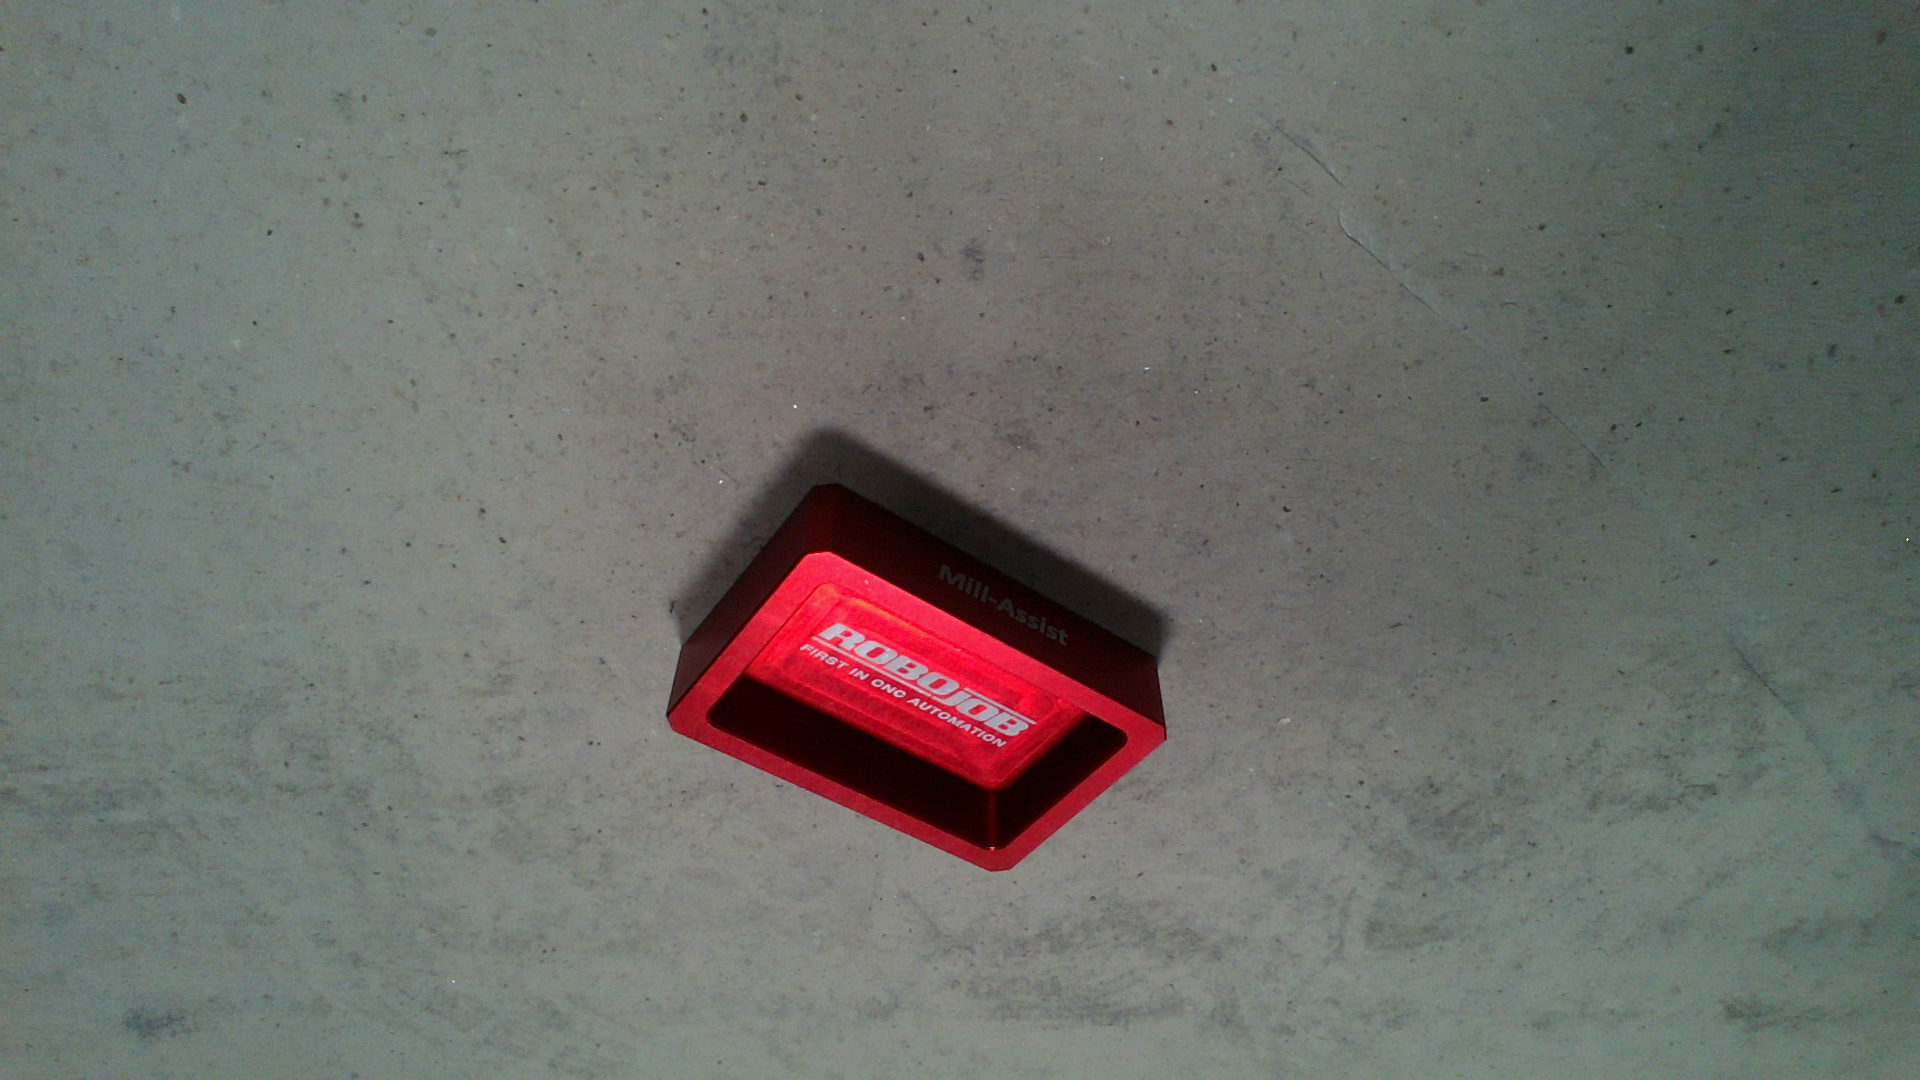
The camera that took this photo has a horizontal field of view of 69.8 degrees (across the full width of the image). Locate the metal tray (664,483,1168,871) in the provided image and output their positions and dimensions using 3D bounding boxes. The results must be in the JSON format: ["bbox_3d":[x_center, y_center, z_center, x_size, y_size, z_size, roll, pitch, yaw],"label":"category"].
[{"bbox_3d":[-0.013,0.047,0.427,0.130,0.030,0.090,29,124,-22],"label":"metal tray"}]
